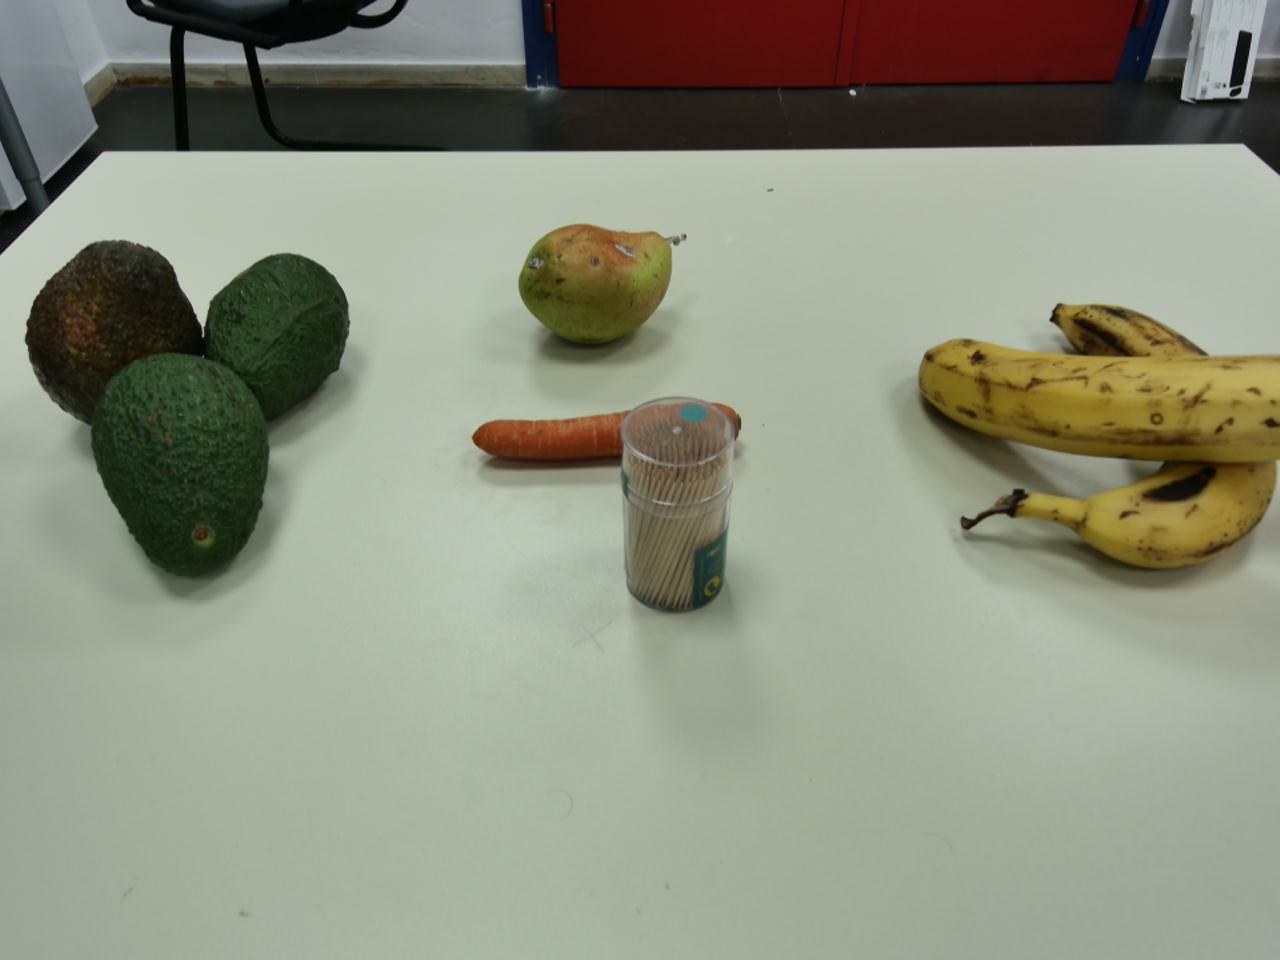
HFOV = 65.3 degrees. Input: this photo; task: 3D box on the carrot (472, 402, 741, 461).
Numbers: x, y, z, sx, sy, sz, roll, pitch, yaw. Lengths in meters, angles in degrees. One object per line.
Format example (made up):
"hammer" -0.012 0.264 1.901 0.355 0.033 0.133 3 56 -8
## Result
"carrot" -0.014 -0.022 0.456 0.122 0.023 0.024 -2 38 -2
